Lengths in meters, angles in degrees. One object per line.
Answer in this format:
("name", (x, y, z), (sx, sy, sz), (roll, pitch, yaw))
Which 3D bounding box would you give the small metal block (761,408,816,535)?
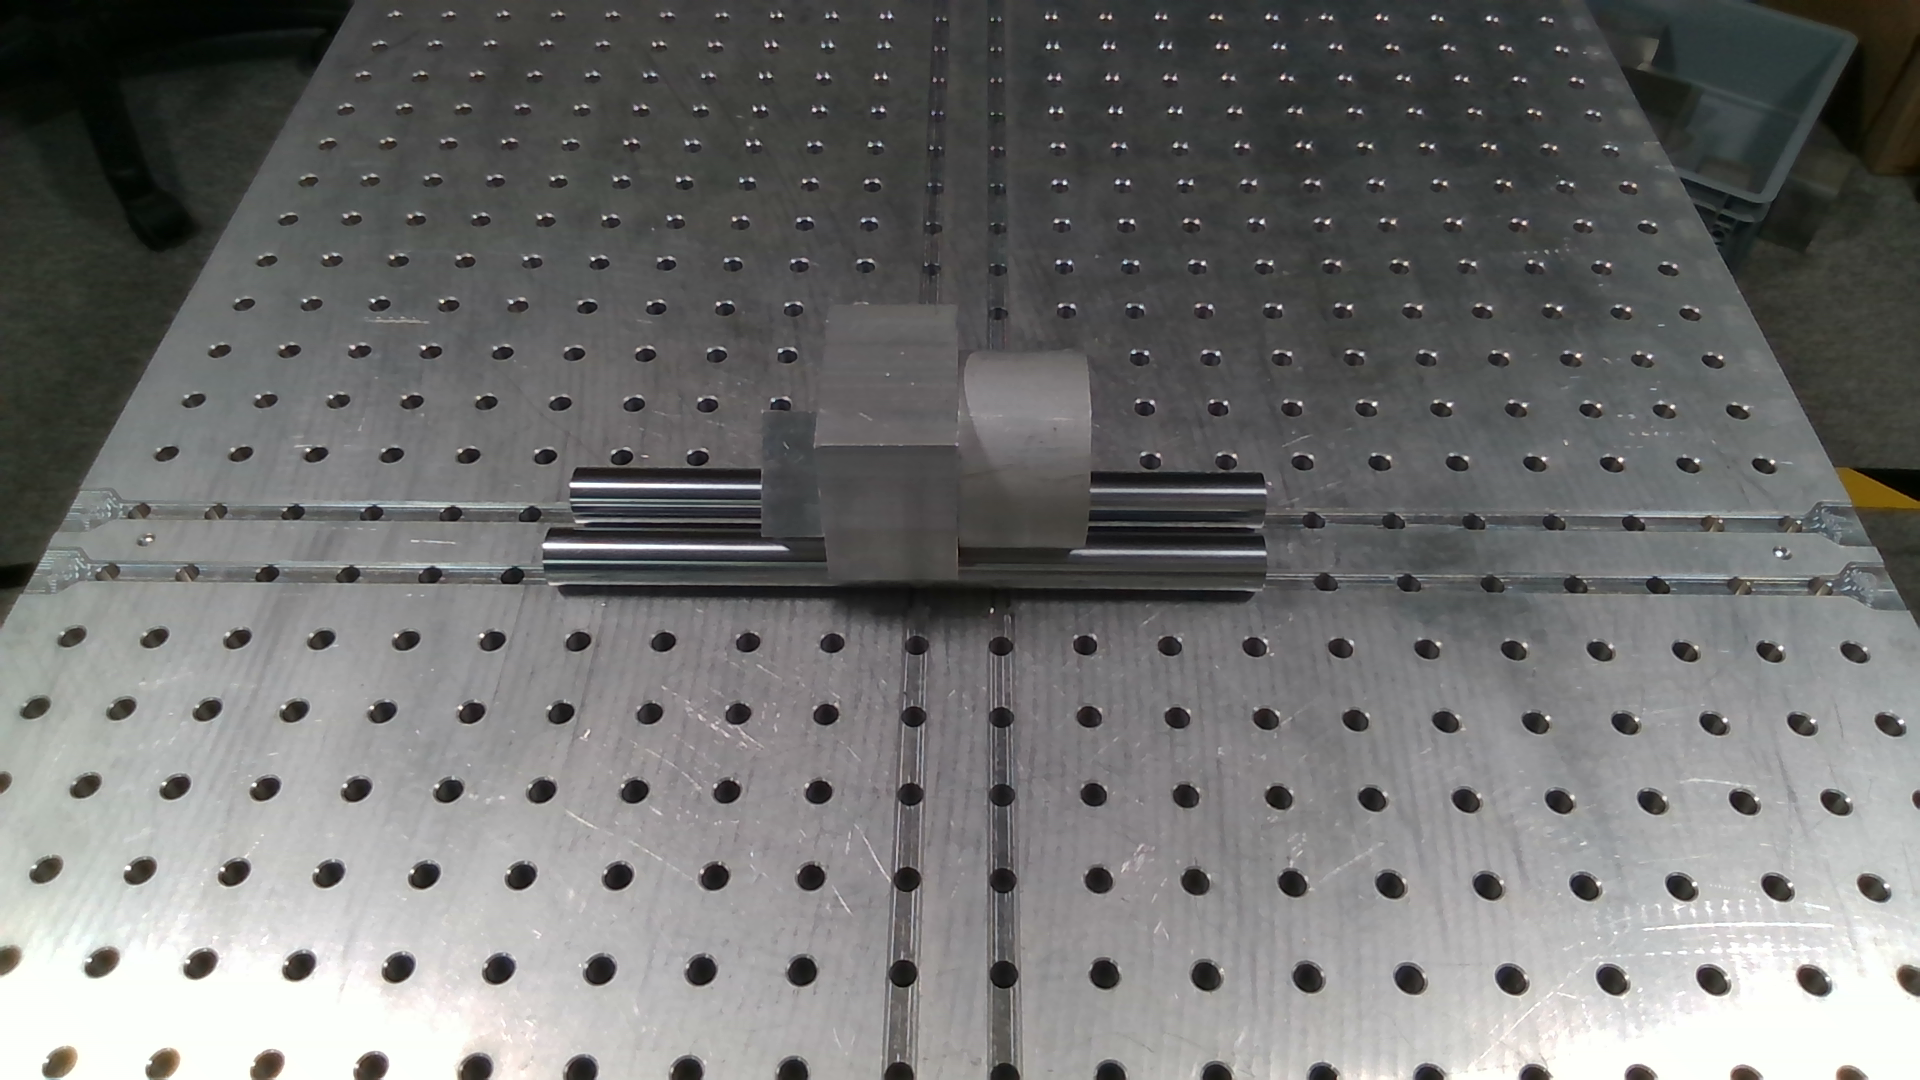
("small metal block", (-0.066, -0.029, 0.568), (0.025, 0.050, 0.050), (1, 95, 0))

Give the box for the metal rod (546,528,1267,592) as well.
("metal rod", (-0.022, 0.008, 0.585), (0.300, 0.025, 0.025), (0, 50, 0))

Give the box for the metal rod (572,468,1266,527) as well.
("metal rod", (-0.018, -0.018, 0.607), (0.300, 0.025, 0.025), (0, 50, 0))

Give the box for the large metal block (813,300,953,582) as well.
("large metal block", (-0.028, -0.039, 0.555), (0.050, 0.080, 0.080), (0, 50, 0))

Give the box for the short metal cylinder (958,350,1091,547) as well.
("short metal cylinder", (0.025, -0.037, 0.557), (0.050, 0.080, 0.080), (0, 50, 0))
